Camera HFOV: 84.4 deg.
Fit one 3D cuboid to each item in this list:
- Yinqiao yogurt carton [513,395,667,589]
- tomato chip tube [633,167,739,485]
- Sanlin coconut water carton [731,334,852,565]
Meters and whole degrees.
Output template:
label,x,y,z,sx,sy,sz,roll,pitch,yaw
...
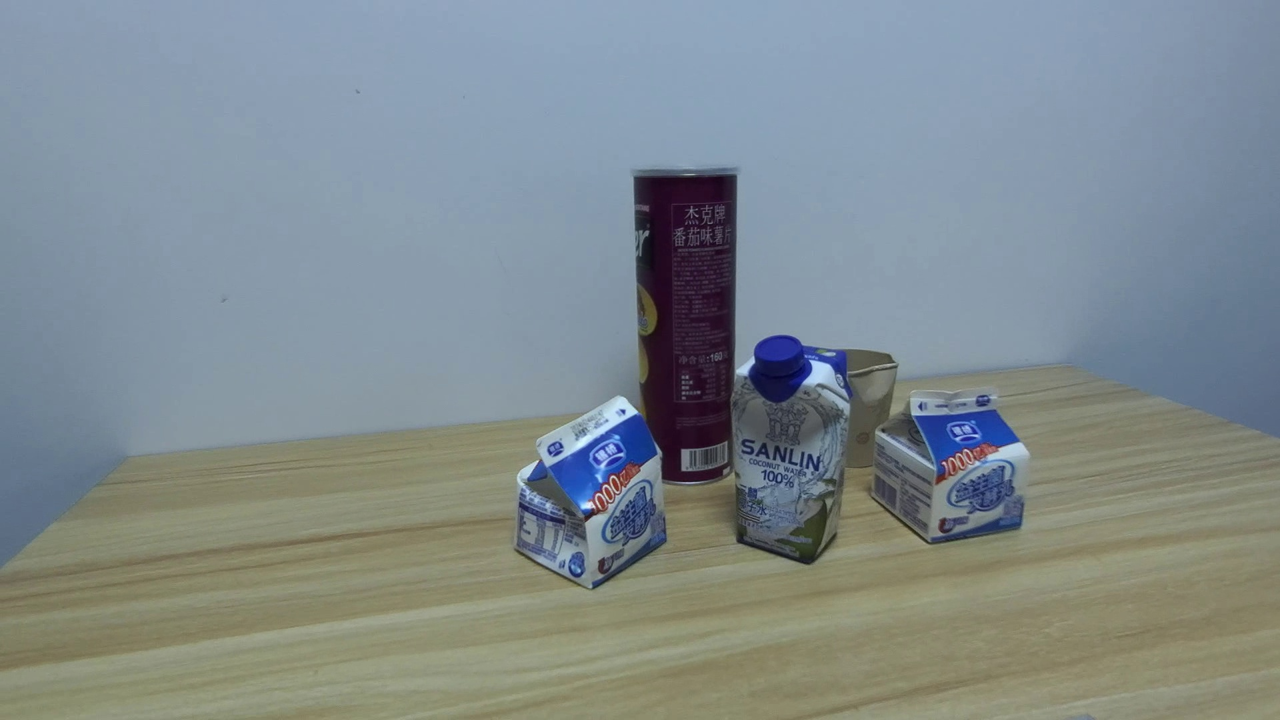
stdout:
label,x,y,z,sx,sy,sz,roll,pitch,yaw
Yinqiao yogurt carton,-0.030,0.076,0.451,0.077,0.093,0.083,13,23,41
tomato chip tube,0.038,-0.026,0.543,0.078,0.234,0.078,-1,15,1
Sanlin coconut water carton,0.093,0.051,0.444,0.077,0.142,0.058,9,24,33
